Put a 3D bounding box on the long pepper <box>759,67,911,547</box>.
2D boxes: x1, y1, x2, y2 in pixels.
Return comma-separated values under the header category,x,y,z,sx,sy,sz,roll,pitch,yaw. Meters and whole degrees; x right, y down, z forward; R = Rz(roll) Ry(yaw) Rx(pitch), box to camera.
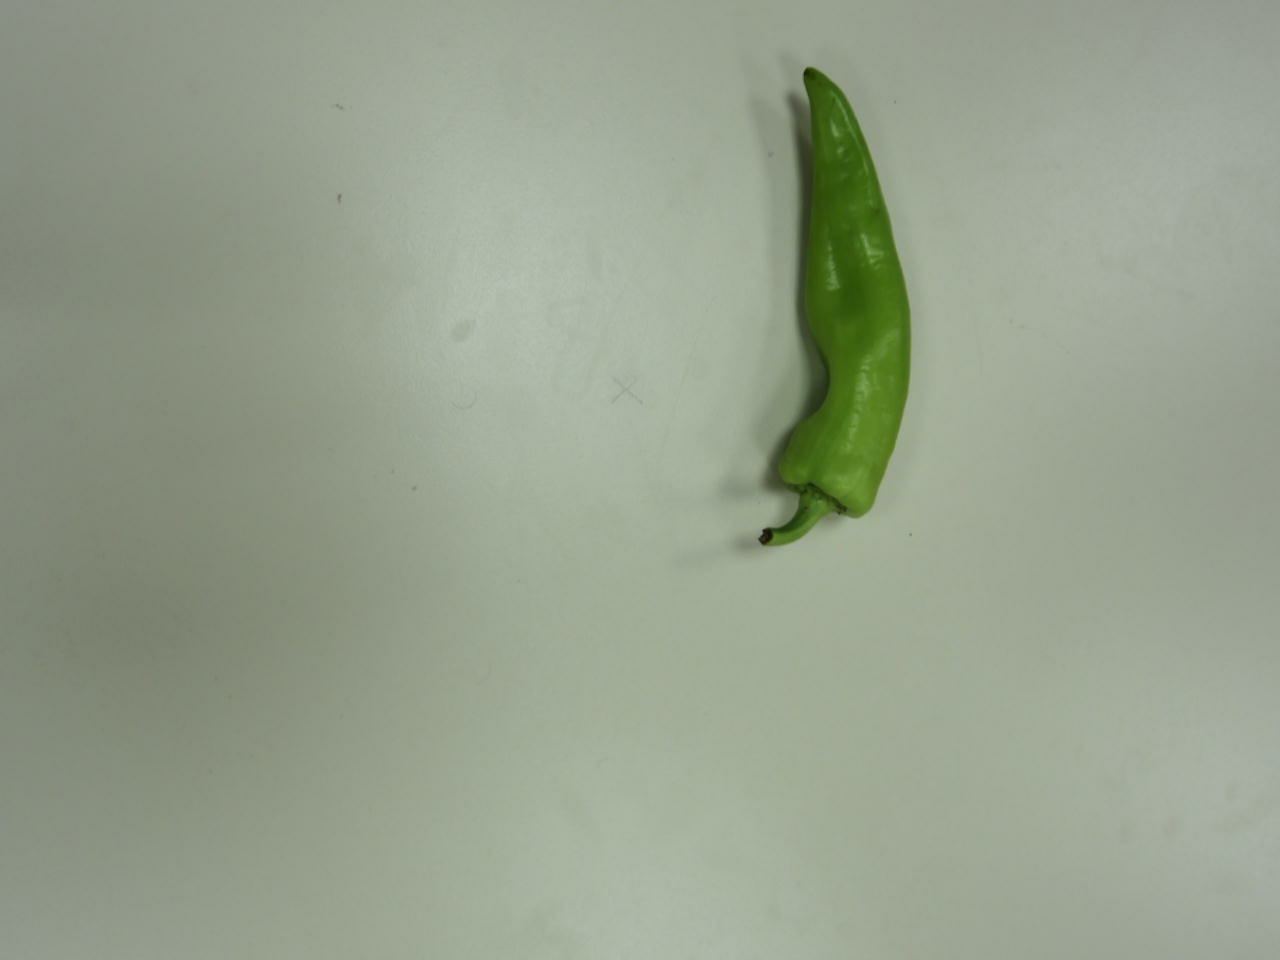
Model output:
category,x,y,z,sx,sy,sz,roll,pitch,yaw
long pepper,0.089,-0.070,0.432,0.065,0.045,0.204,7,89,-12
